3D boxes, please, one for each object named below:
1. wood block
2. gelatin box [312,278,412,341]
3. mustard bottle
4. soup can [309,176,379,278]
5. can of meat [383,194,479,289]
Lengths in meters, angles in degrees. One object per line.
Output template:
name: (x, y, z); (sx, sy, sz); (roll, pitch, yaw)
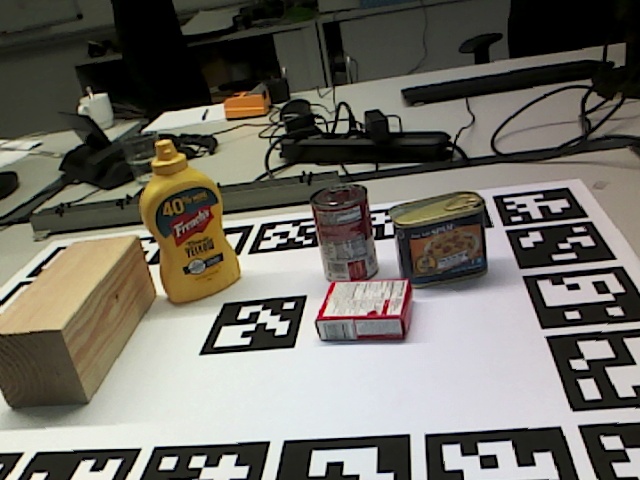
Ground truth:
wood block: (-0.266, 0.078, 0.685); (0.091, 0.089, 0.206); (-4, 22, 10)
gelatin box: (0.045, 0.071, 0.636); (0.090, 0.030, 0.073); (-4, 28, 20)
mustard bottle: (-0.166, -0.020, 0.742); (0.096, 0.191, 0.059); (-16, 25, -14)
soup can: (0.030, -0.015, 0.727); (0.068, 0.102, 0.068); (-9, 27, 4)
can of meat: (0.126, 0.002, 0.697); (0.102, 0.083, 0.058); (-10, 26, -4)
